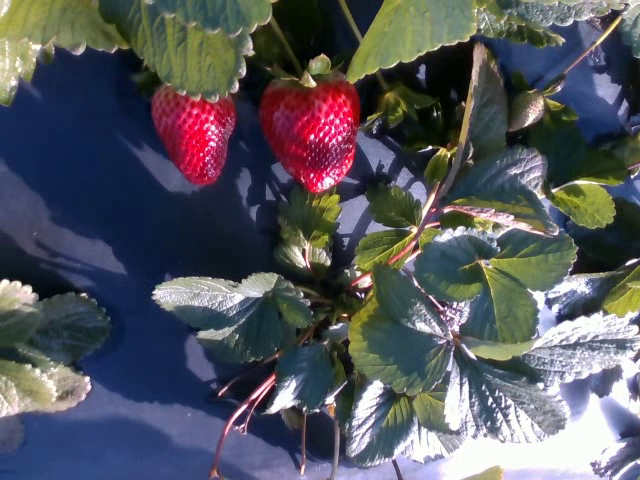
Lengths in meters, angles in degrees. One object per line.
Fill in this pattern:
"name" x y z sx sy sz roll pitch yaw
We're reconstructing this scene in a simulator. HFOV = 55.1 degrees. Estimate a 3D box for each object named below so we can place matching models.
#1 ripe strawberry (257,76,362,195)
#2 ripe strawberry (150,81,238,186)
"ripe strawberry" -0.001 -0.047 0.280 0.052 0.058 0.046 -4 14 16
"ripe strawberry" -0.056 -0.045 0.269 0.043 0.052 0.036 -8 15 24
